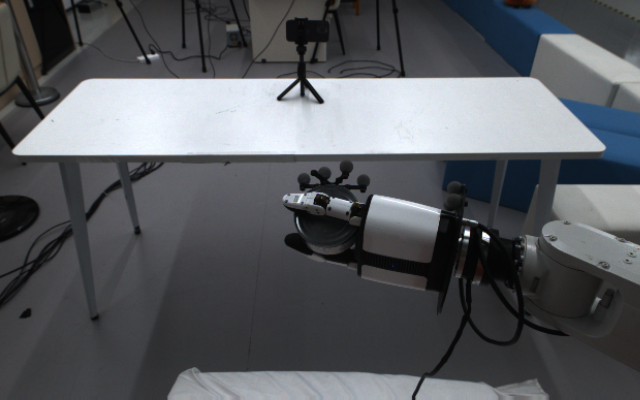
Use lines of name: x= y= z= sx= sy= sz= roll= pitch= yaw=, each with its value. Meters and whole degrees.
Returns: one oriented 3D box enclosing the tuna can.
tuna can: x=0.014 y=0.029 z=0.613 sx=0.085 sy=0.034 sz=0.085 roll=-4 pitch=62 yaw=7
